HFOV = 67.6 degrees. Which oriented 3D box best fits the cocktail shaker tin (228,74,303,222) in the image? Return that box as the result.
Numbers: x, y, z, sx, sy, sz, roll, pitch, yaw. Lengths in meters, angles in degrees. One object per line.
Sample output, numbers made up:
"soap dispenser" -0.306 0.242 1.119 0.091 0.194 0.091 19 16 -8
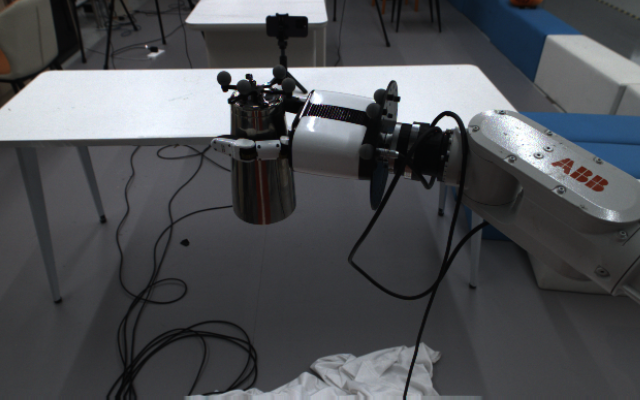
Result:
"cocktail shaker tin" -0.075 -0.064 0.648 0.093 0.170 0.093 1 39 -1
